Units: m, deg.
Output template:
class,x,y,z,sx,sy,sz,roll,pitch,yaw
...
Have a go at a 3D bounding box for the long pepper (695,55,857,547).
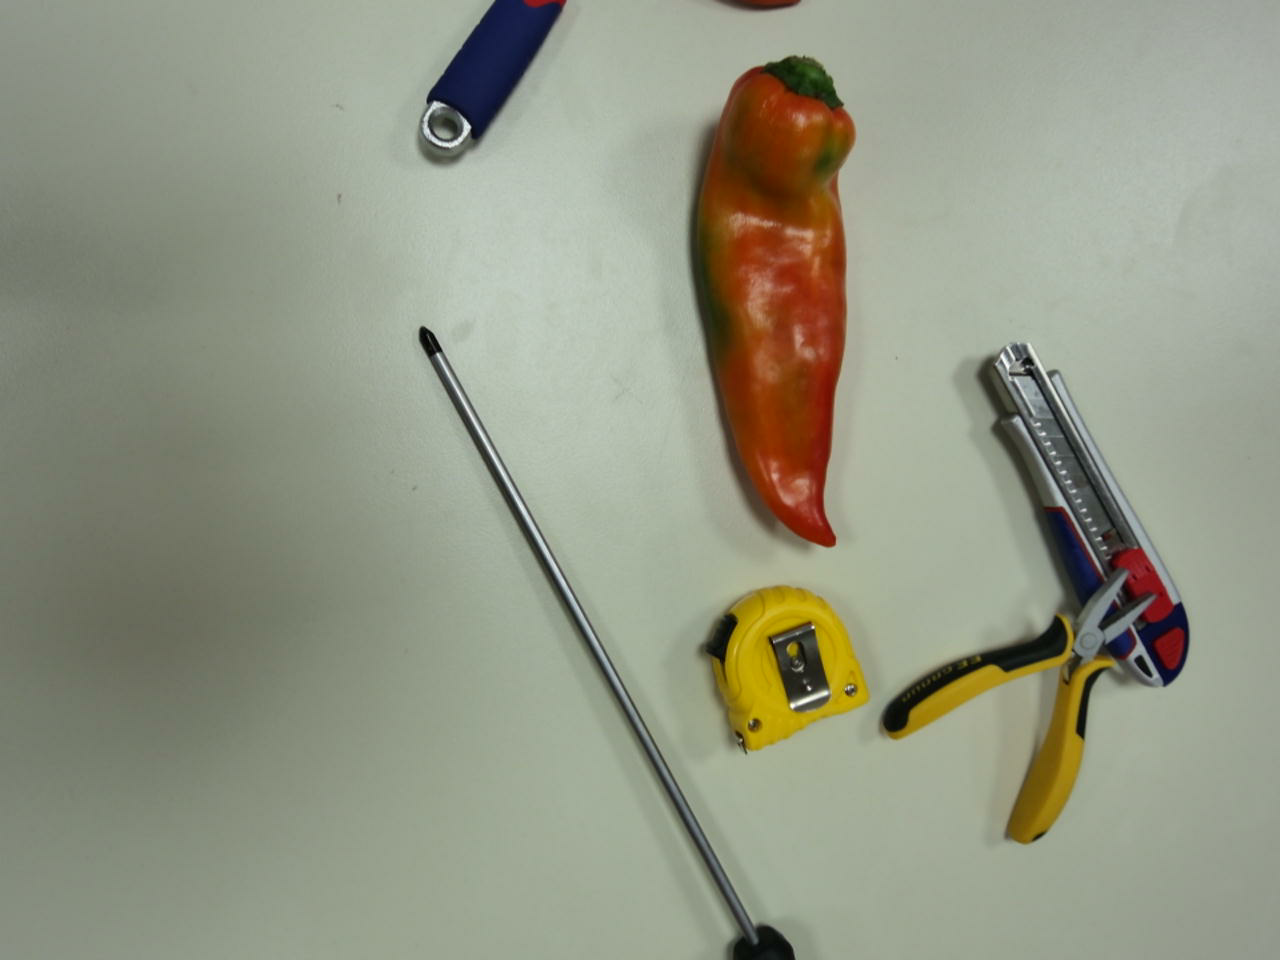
class,x,y,z,sx,sy,sz,roll,pitch,yaw
long pepper,0.064,-0.070,0.415,0.066,0.065,0.199,-5,92,-11
